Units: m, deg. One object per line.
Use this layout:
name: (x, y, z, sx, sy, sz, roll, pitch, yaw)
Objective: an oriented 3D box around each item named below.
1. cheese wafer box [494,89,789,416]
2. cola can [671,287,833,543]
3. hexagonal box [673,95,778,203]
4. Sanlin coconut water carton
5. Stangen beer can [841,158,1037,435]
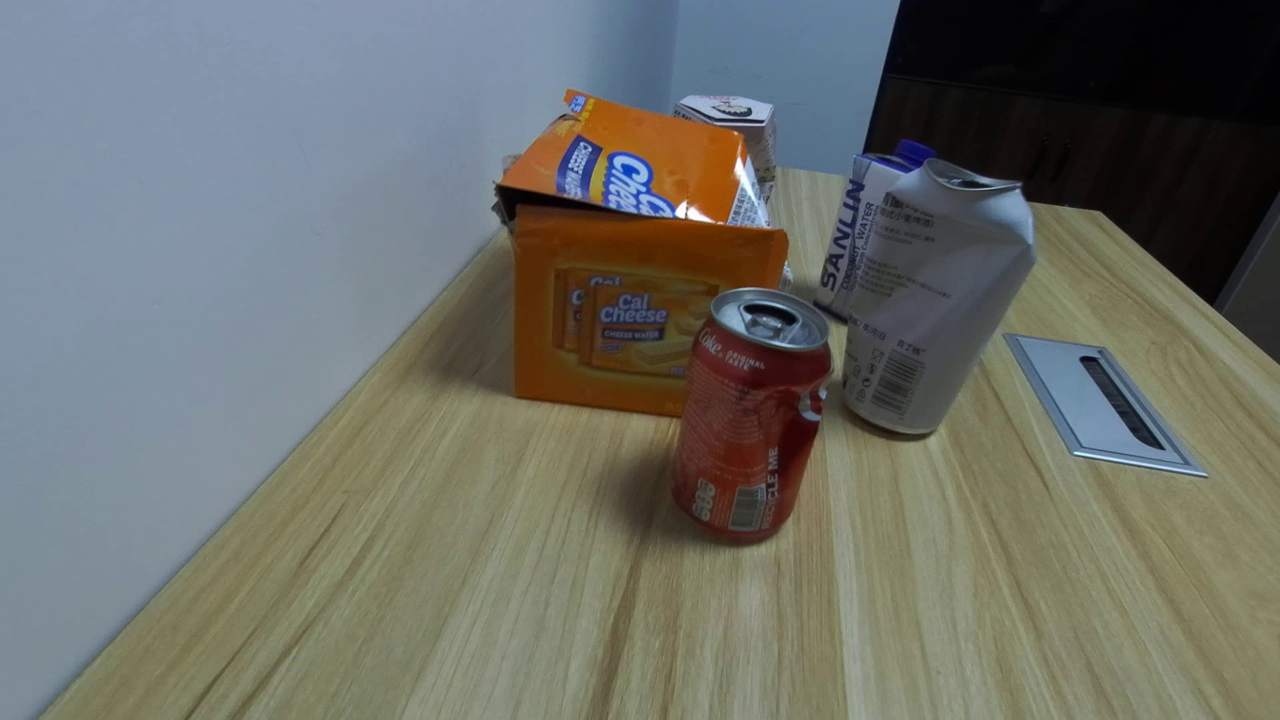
cheese wafer box: (0.015, -0.083, 0.490, 0.191, 0.145, 0.219, 6, 32, 0)
cola can: (0.053, 0.028, 0.345, 0.066, 0.117, 0.066, -15, 36, -33)
hexagonal box: (0.071, -0.162, 0.638, 0.091, 0.134, 0.090, 21, 38, 20)
Sanlin coconut water carton: (0.186, -0.098, 0.548, 0.058, 0.142, 0.077, -10, 34, -35)
Stangen beer can: (0.171, -0.033, 0.421, 0.077, 0.162, 0.065, 4, 33, -5)
